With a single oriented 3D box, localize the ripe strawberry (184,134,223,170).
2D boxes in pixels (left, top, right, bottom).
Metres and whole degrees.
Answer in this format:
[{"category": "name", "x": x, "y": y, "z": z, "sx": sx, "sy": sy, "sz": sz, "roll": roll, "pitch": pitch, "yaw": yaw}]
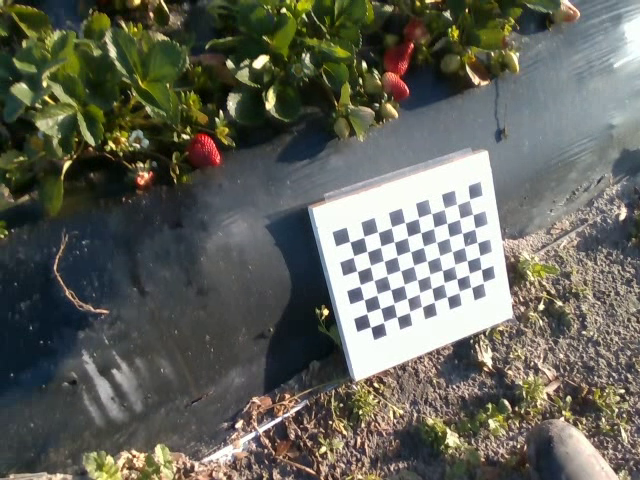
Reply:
[{"category": "ripe strawberry", "x": -0.151, "y": -0.112, "z": 0.803, "sx": 0.051, "sy": 0.052, "sz": 0.041, "roll": 36, "pitch": -9, "yaw": 36}]
